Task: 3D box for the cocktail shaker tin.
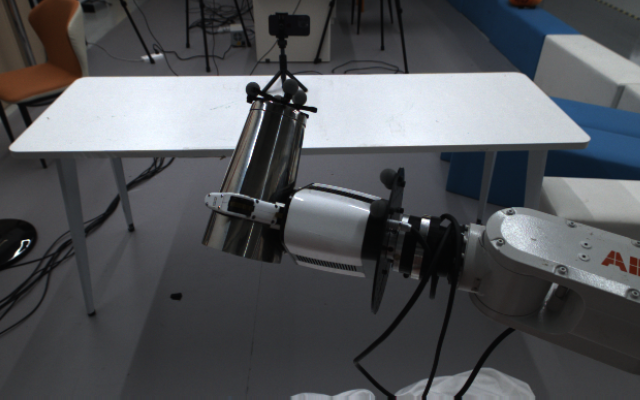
[{"bbox_3d":[-0.068,-0.021,0.555,0.093,0.170,0.093,15,-4,1],"label":"cocktail shaker tin"}]
